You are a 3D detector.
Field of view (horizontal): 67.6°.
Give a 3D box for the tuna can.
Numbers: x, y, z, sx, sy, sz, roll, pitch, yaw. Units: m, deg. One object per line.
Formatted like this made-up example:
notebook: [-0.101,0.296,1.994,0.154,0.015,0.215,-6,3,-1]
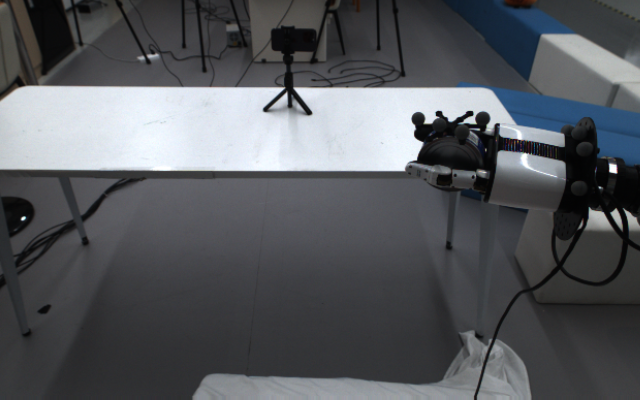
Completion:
tuna can: [0.176,-0.057,0.647,0.085,0.085,0.034,14,41,16]
